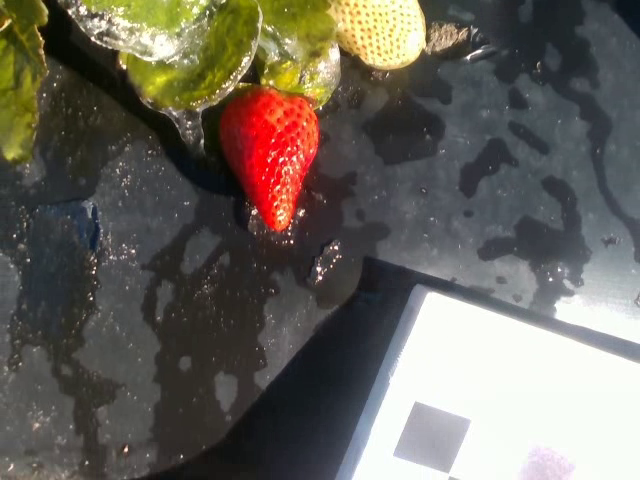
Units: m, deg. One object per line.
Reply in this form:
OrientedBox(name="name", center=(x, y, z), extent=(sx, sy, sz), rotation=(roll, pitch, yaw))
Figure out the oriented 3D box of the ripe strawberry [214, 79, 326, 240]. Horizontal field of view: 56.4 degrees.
OrientedBox(name="ripe strawberry", center=(-0.016, -0.026, 0.205), extent=(0.041, 0.052, 0.040), rotation=(3, 0, -6))
